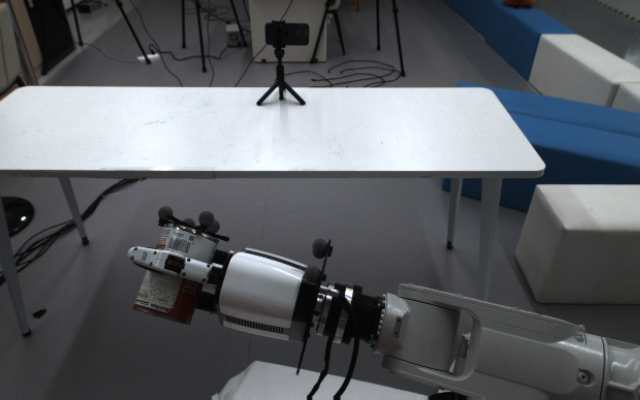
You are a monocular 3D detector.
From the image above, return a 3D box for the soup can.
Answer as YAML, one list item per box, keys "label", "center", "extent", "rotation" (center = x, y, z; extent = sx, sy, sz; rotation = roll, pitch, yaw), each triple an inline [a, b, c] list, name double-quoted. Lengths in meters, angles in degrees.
- label: "soup can"
  center: [-0.165, 0.088, 0.562]
  extent: [0.067, 0.067, 0.101]
  rotation: [11, 72, 13]
